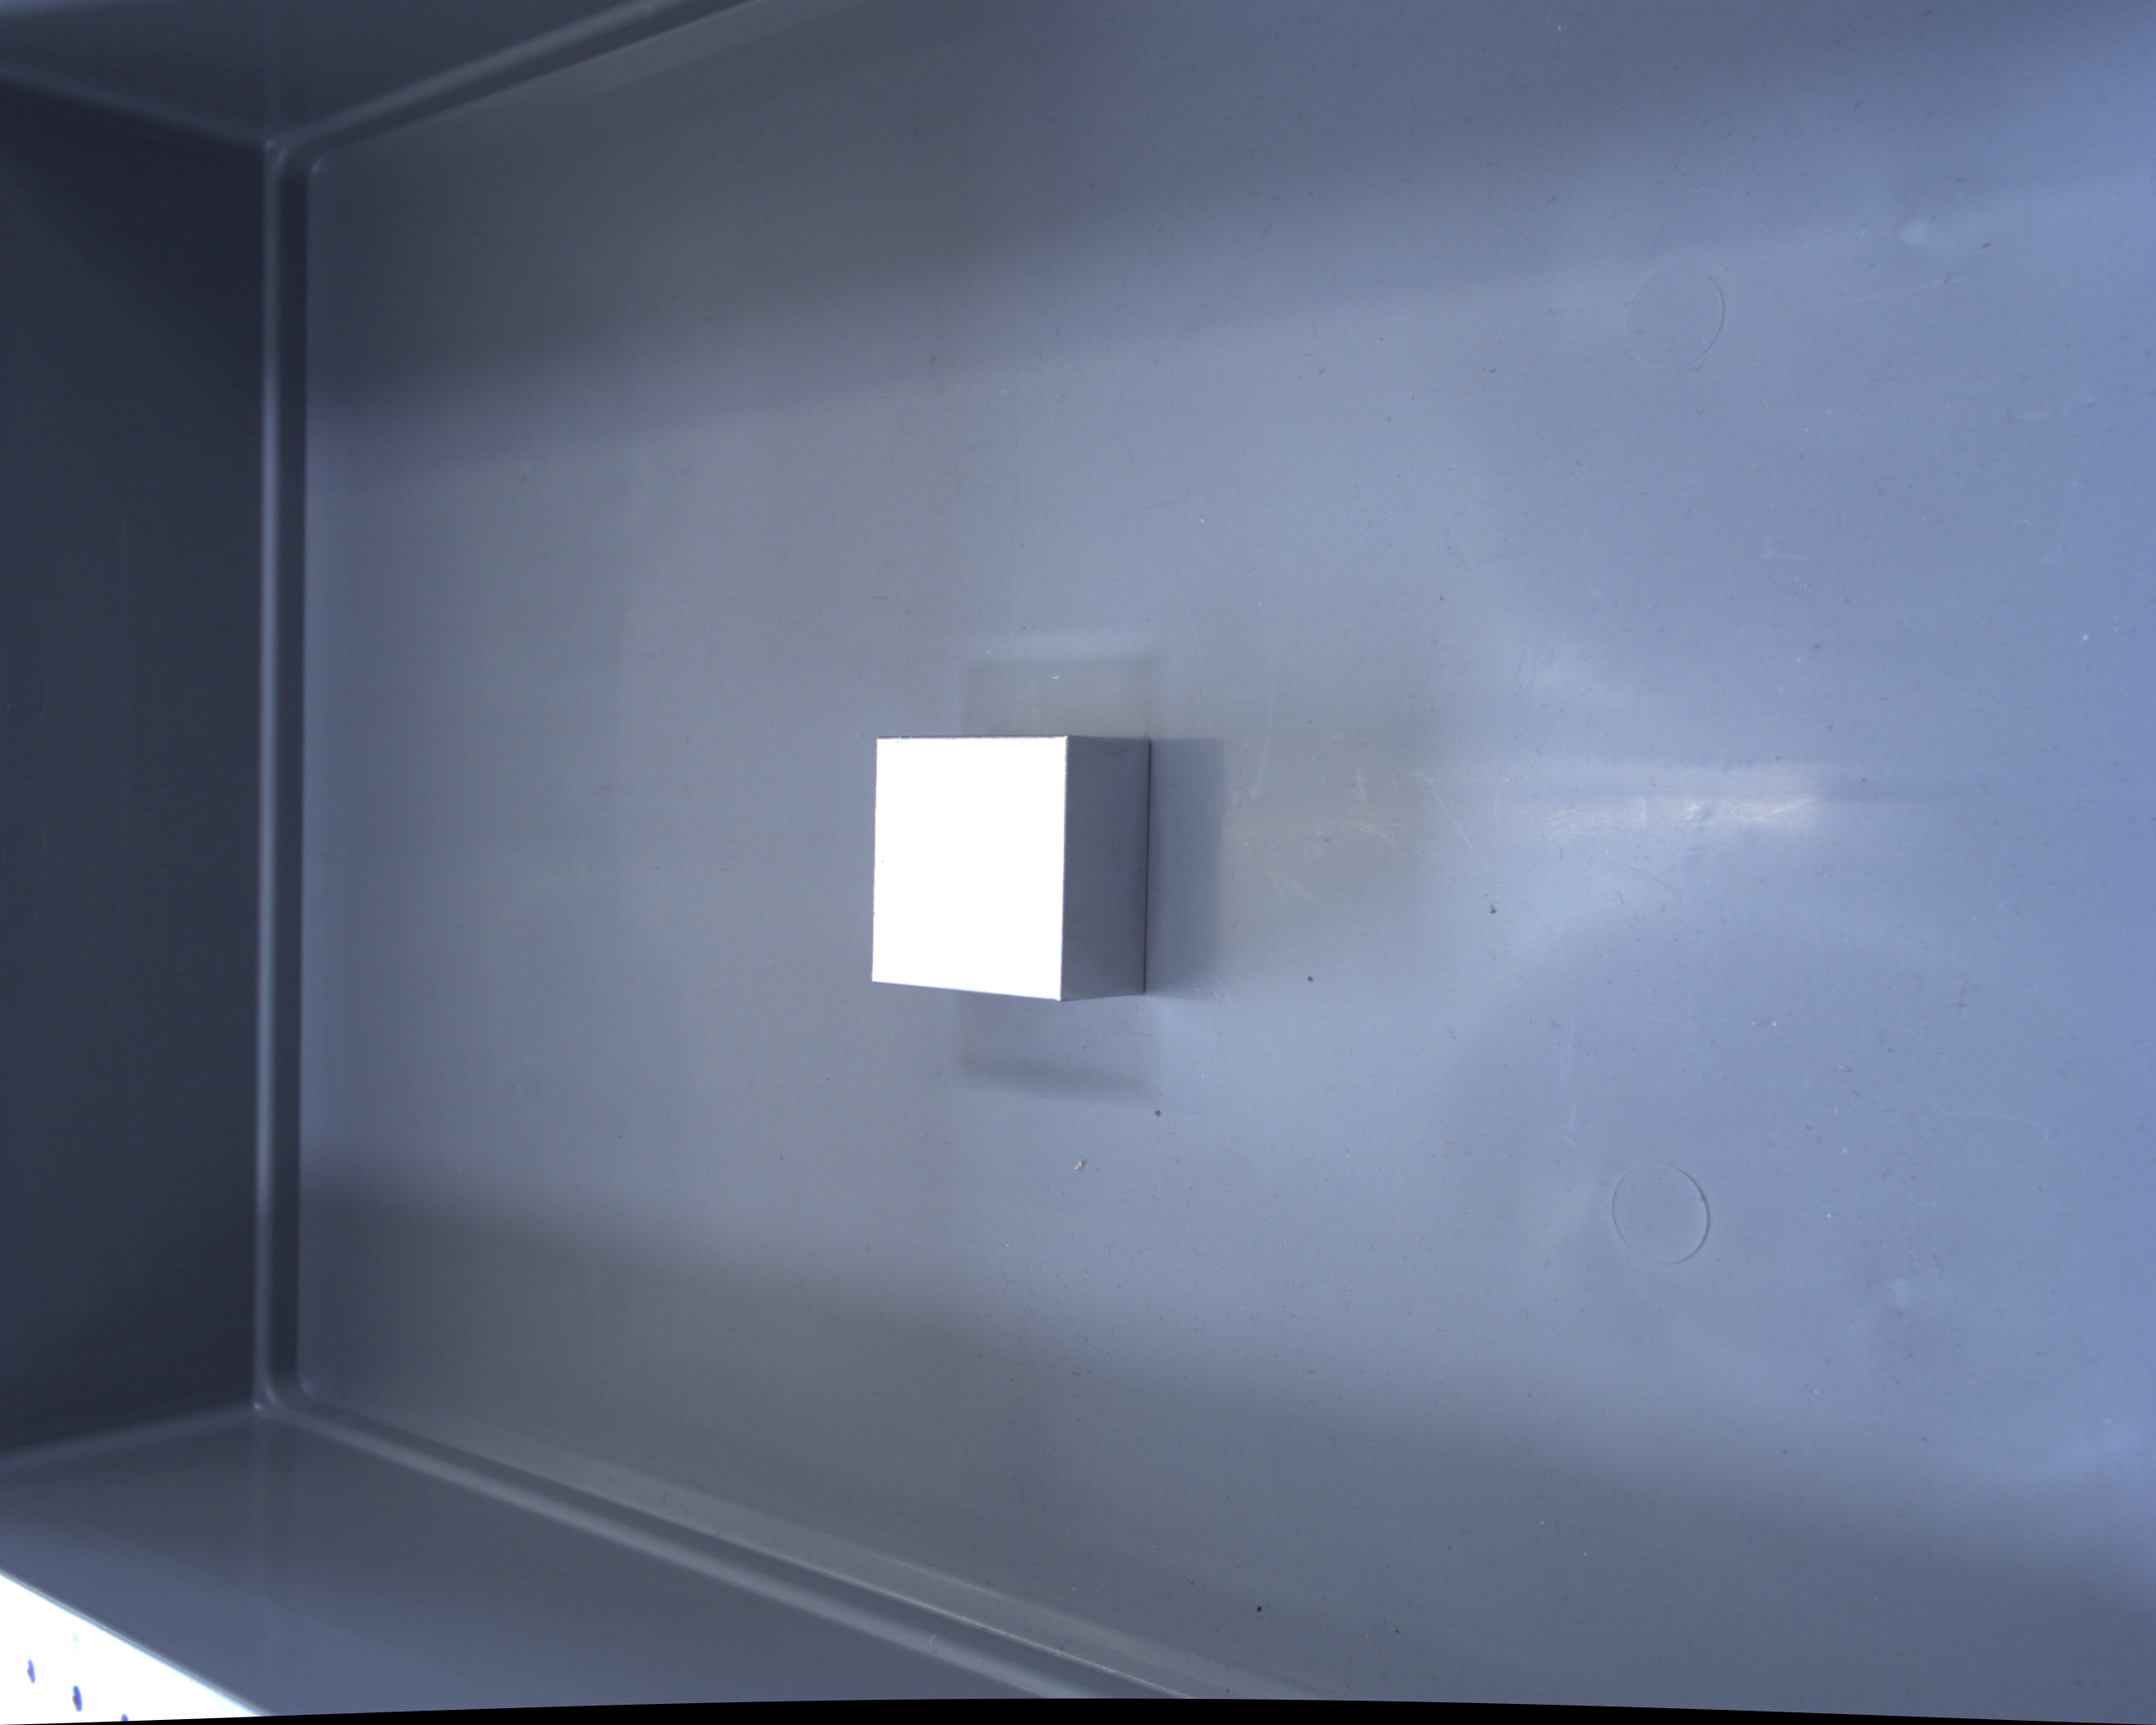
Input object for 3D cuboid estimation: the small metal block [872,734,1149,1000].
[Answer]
[{"bbox_3d":[-0.014,0.000,0.415,0.050,0.025,0.050,2,92,40],"label":"small metal block"}]
